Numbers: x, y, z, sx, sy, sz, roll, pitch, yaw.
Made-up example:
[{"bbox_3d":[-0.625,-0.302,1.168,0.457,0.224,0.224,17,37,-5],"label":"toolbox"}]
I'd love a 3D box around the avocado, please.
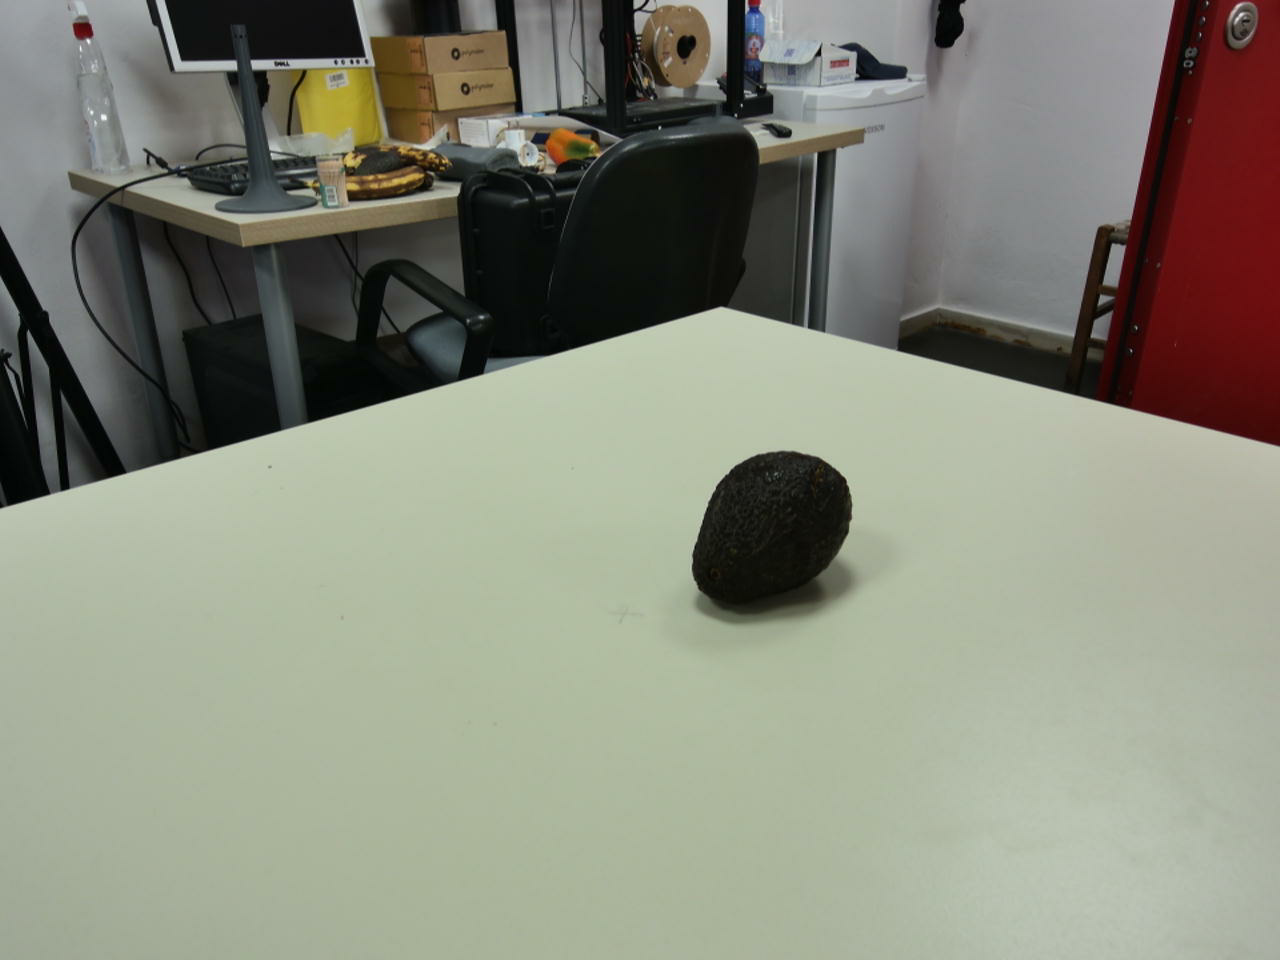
[{"bbox_3d":[0.066,0.021,0.516,0.090,0.069,0.070,-6,24,-15],"label":"avocado"}]
